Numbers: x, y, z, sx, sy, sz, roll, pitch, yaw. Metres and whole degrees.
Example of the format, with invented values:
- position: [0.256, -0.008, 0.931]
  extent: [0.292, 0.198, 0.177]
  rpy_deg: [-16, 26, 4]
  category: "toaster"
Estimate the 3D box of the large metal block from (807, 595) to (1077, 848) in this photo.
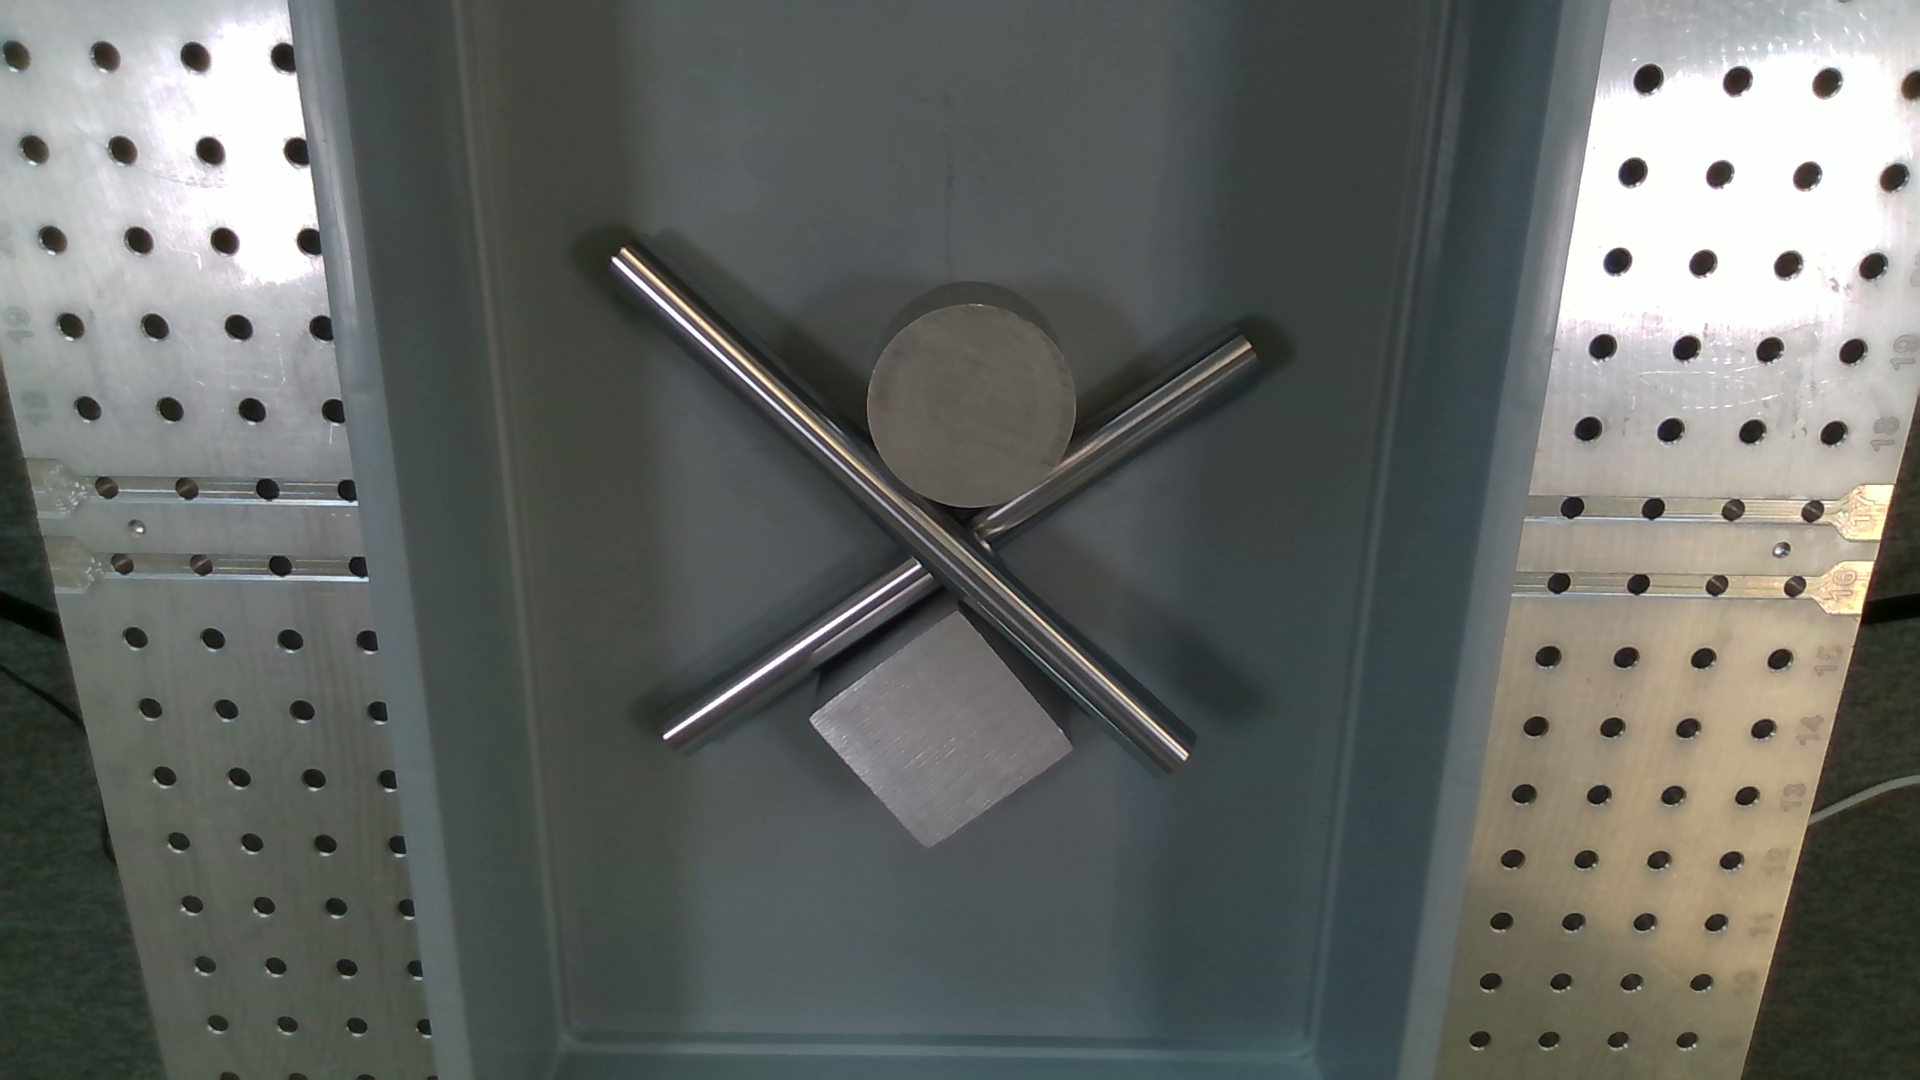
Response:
- position: [-0.007, 0.071, 0.596]
  extent: [0.080, 0.050, 0.080]
  rpy_deg: [-37, 106, 12]
  category: "large metal block"

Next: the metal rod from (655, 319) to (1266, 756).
- position: [-0.006, 0.003, 0.584]
  extent: [0.300, 0.025, 0.025]
  rpy_deg: [-34, 107, 12]
  category: "metal rod"

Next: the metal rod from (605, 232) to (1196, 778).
- position: [-0.021, -0.011, 0.557]
  extent: [0.300, 0.025, 0.025]
  rpy_deg: [42, 105, -5]
  category: "metal rod"

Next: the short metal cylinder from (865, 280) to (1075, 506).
- position: [0.004, -0.059, 0.548]
  extent: [0.080, 0.050, 0.080]
  rpy_deg: [0, 110, 0]
  category: "short metal cylinder"
